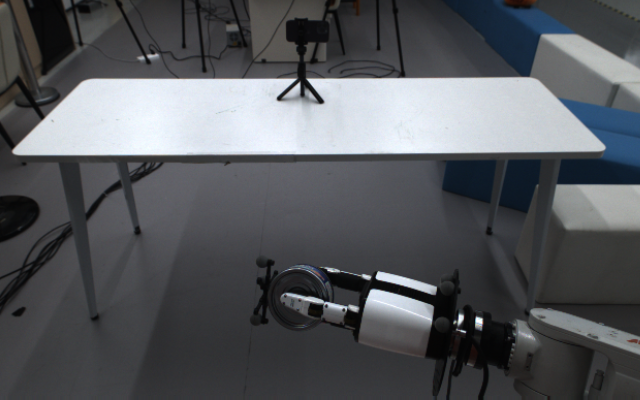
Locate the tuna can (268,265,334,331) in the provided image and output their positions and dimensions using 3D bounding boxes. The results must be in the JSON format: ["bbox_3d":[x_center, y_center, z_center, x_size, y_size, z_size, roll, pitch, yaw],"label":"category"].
[{"bbox_3d":[-0.023,0.132,0.643,0.085,0.085,0.034,10,2,11],"label":"tuna can"}]
